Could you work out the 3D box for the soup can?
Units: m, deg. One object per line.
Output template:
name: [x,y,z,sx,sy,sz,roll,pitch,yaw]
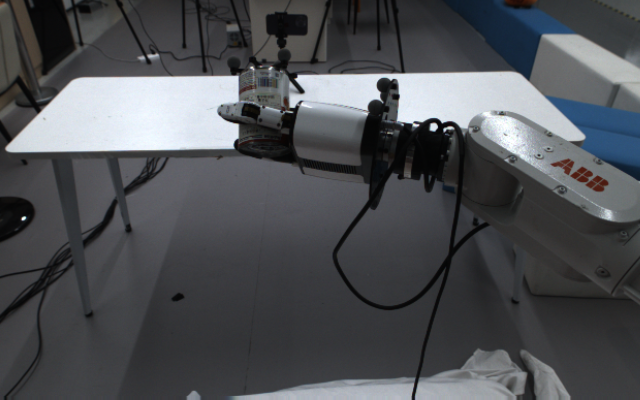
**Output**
soup can: [-0.071,-0.112,0.623,0.067,0.101,0.067,-1,-9,0]
